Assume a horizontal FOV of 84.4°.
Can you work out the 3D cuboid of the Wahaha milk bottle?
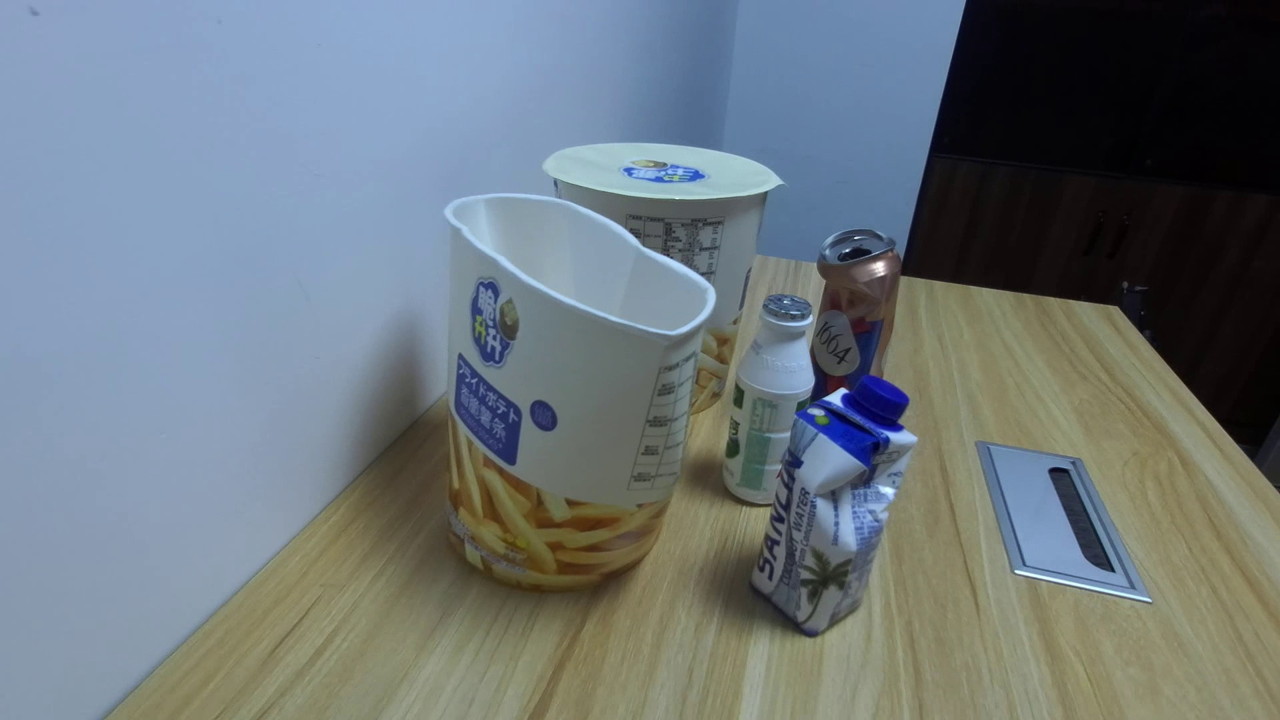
[{"bbox_3d":[0.090,0.028,0.483,0.053,0.147,0.053,3,30,-1],"label":"Wahaha milk bottle"}]

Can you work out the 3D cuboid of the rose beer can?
[{"bbox_3d":[0.166,-0.018,0.566,0.069,0.168,0.070,19,35,25],"label":"rose beer can"}]

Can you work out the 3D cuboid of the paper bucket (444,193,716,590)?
[{"bbox_3d":[-0.049,0.016,0.433,0.217,0.199,0.148,18,31,25],"label":"paper bucket"}]

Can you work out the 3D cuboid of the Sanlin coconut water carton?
[{"bbox_3d":[0.108,0.080,0.393,0.070,0.143,0.060,-14,34,-34],"label":"Sanlin coconut water carton"}]

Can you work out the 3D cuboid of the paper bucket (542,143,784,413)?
[{"bbox_3d":[0.011,-0.069,0.608,0.198,0.194,0.198,3,27,-1],"label":"paper bucket"}]
